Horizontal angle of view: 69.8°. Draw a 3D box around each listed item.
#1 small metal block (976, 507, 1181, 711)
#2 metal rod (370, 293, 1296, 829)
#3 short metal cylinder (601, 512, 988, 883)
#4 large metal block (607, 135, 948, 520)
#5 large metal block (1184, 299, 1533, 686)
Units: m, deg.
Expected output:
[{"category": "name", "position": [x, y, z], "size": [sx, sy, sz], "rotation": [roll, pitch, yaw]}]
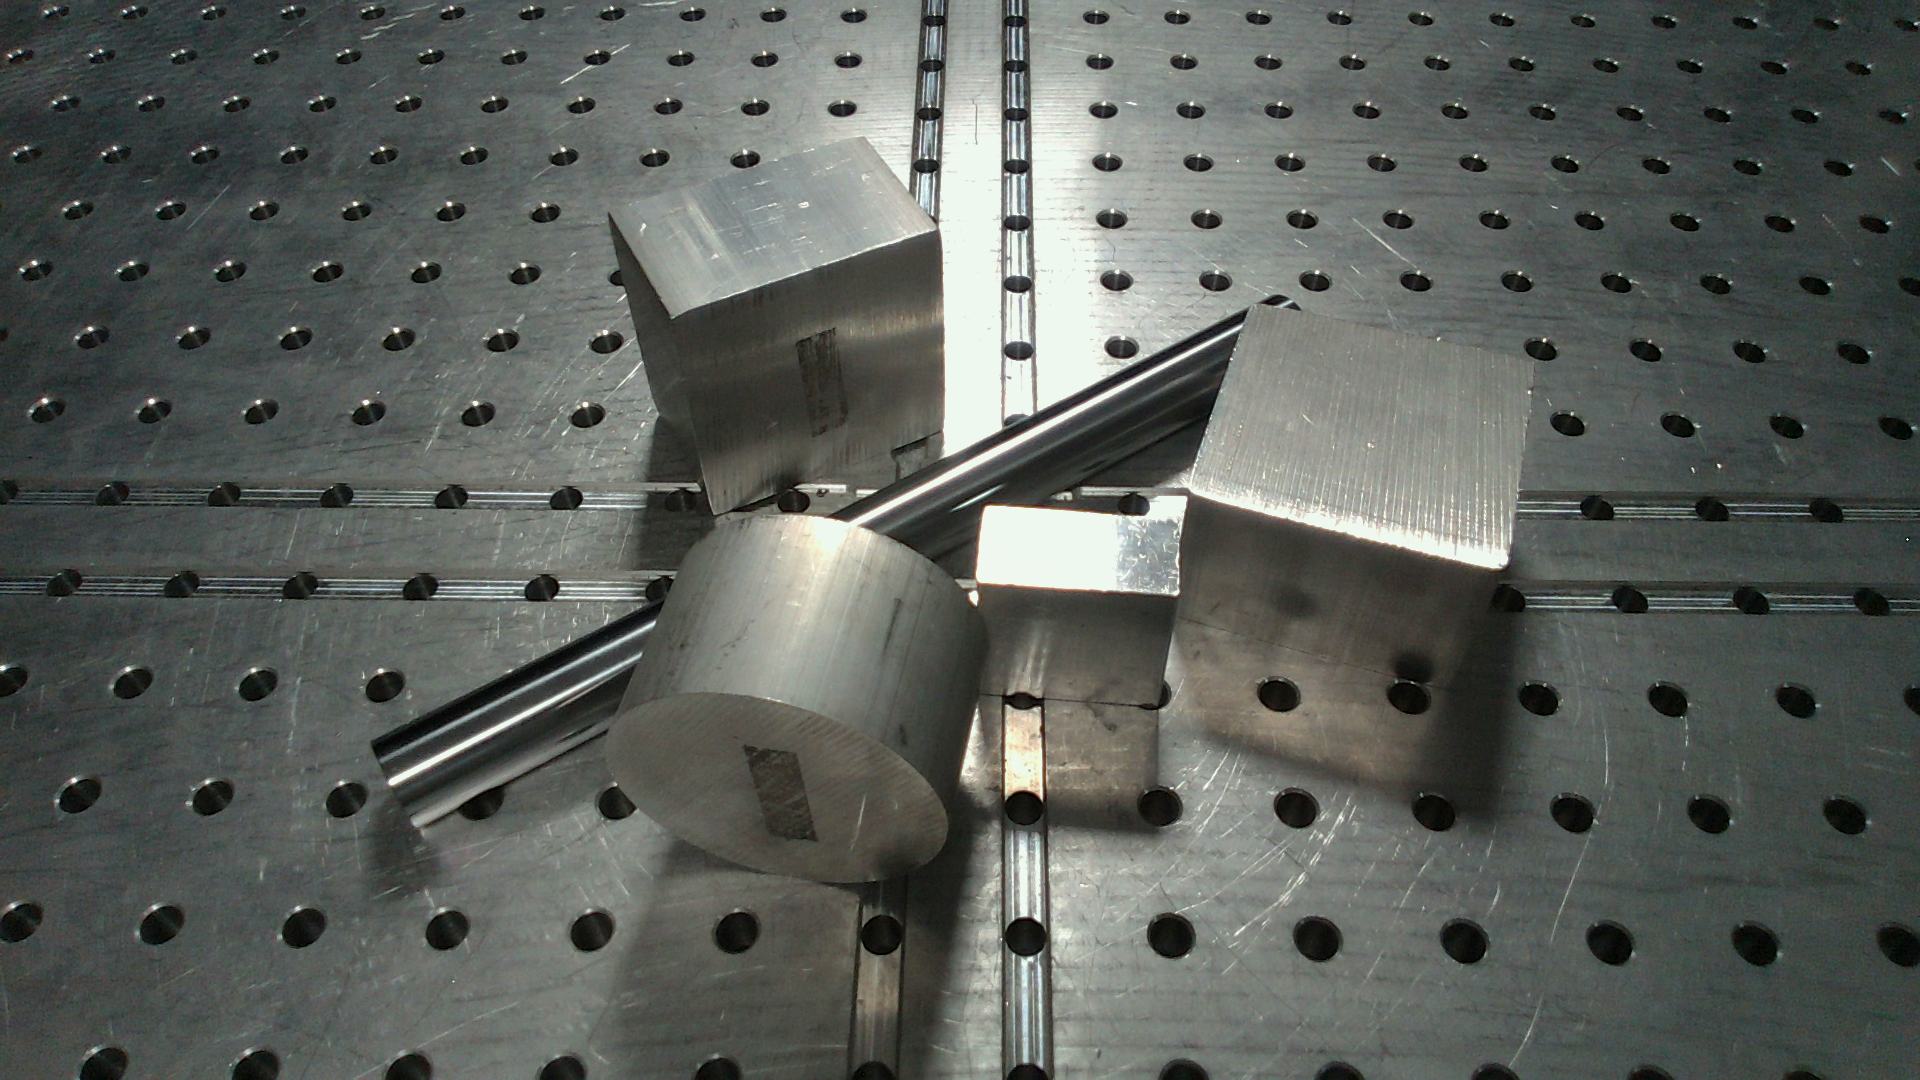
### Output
[{"category": "small metal block", "position": [0.030, 0.019, 0.363], "size": [0.050, 0.050, 0.025], "rotation": [4, 50, 3]}, {"category": "metal rod", "position": [-0.017, -0.004, 0.397], "size": [0.301, 0.025, 0.025], "rotation": [-28, 55, -21]}, {"category": "short metal cylinder", "position": [-0.037, 0.039, 0.325], "size": [0.080, 0.080, 0.050], "rotation": [9, 50, 8]}, {"category": "large metal block", "position": [-0.051, -0.063, 0.413], "size": [0.080, 0.080, 0.050], "rotation": [-23, 53, -18]}, {"category": "large metal block", "position": [0.109, -0.015, 0.388], "size": [0.080, 0.050, 0.080], "rotation": [15, 52, 12]}]
